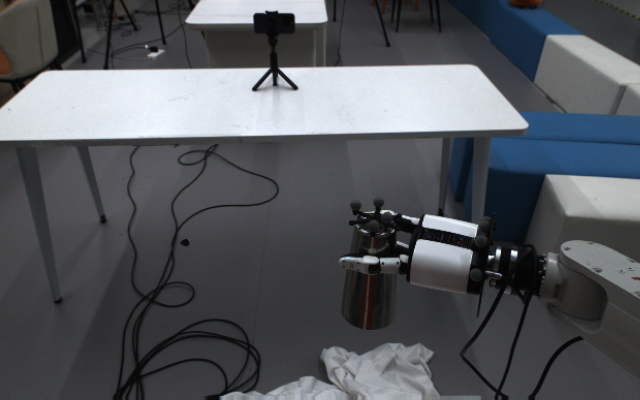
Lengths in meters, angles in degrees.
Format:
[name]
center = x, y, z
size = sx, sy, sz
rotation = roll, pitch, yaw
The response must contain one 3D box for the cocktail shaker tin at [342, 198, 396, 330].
[cocktail shaker tin]
center = 0.086, 0.110, 0.786
size = 0.093, 0.170, 0.093
rotation = 1, 27, -1
